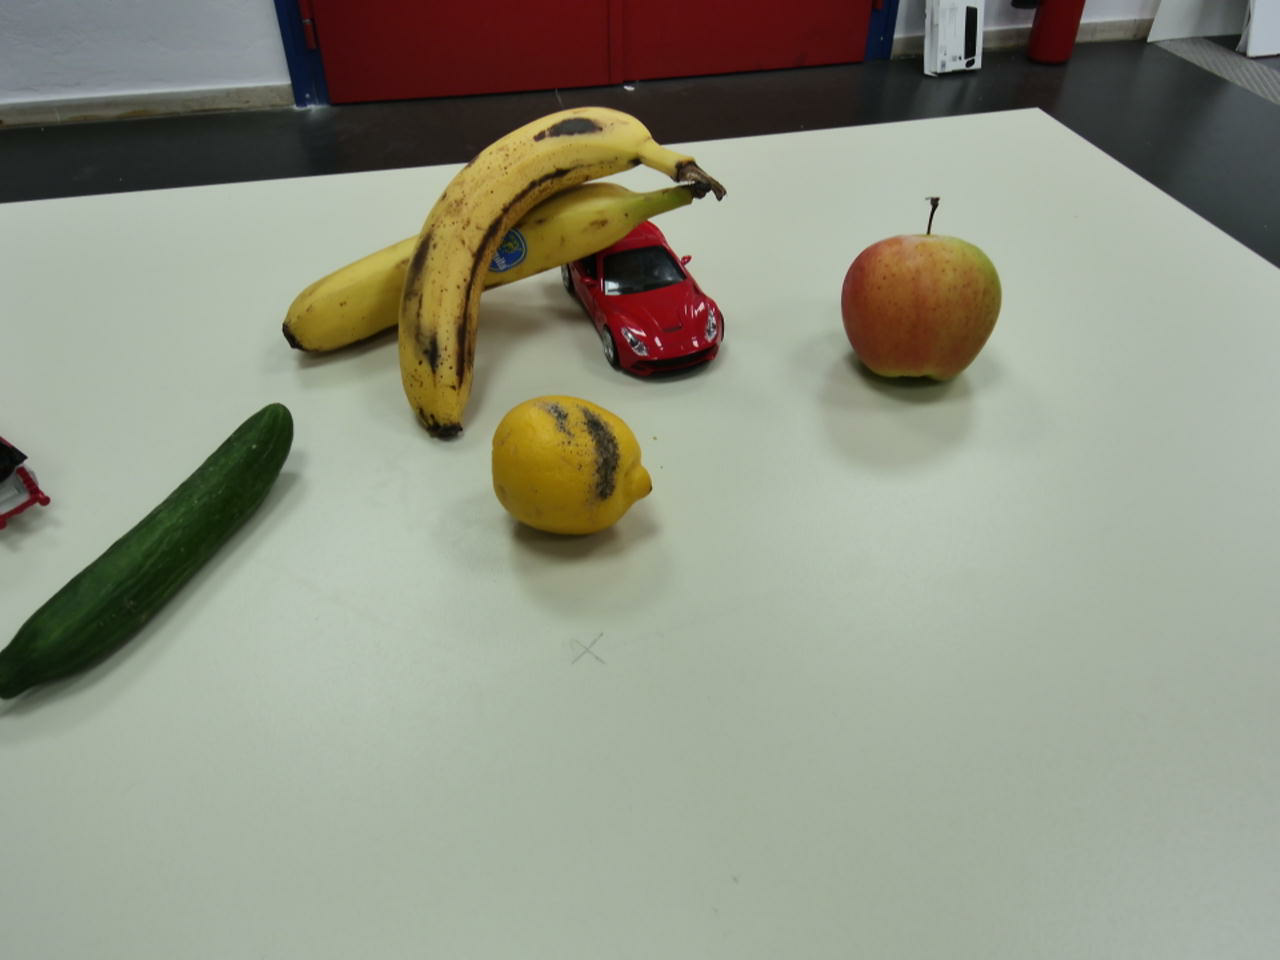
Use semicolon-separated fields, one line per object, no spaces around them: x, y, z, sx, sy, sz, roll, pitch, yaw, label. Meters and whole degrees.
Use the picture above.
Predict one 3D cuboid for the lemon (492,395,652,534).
-0.030;-0.006;0.408;0.061;0.056;0.058;-14;40;-17;lemon
